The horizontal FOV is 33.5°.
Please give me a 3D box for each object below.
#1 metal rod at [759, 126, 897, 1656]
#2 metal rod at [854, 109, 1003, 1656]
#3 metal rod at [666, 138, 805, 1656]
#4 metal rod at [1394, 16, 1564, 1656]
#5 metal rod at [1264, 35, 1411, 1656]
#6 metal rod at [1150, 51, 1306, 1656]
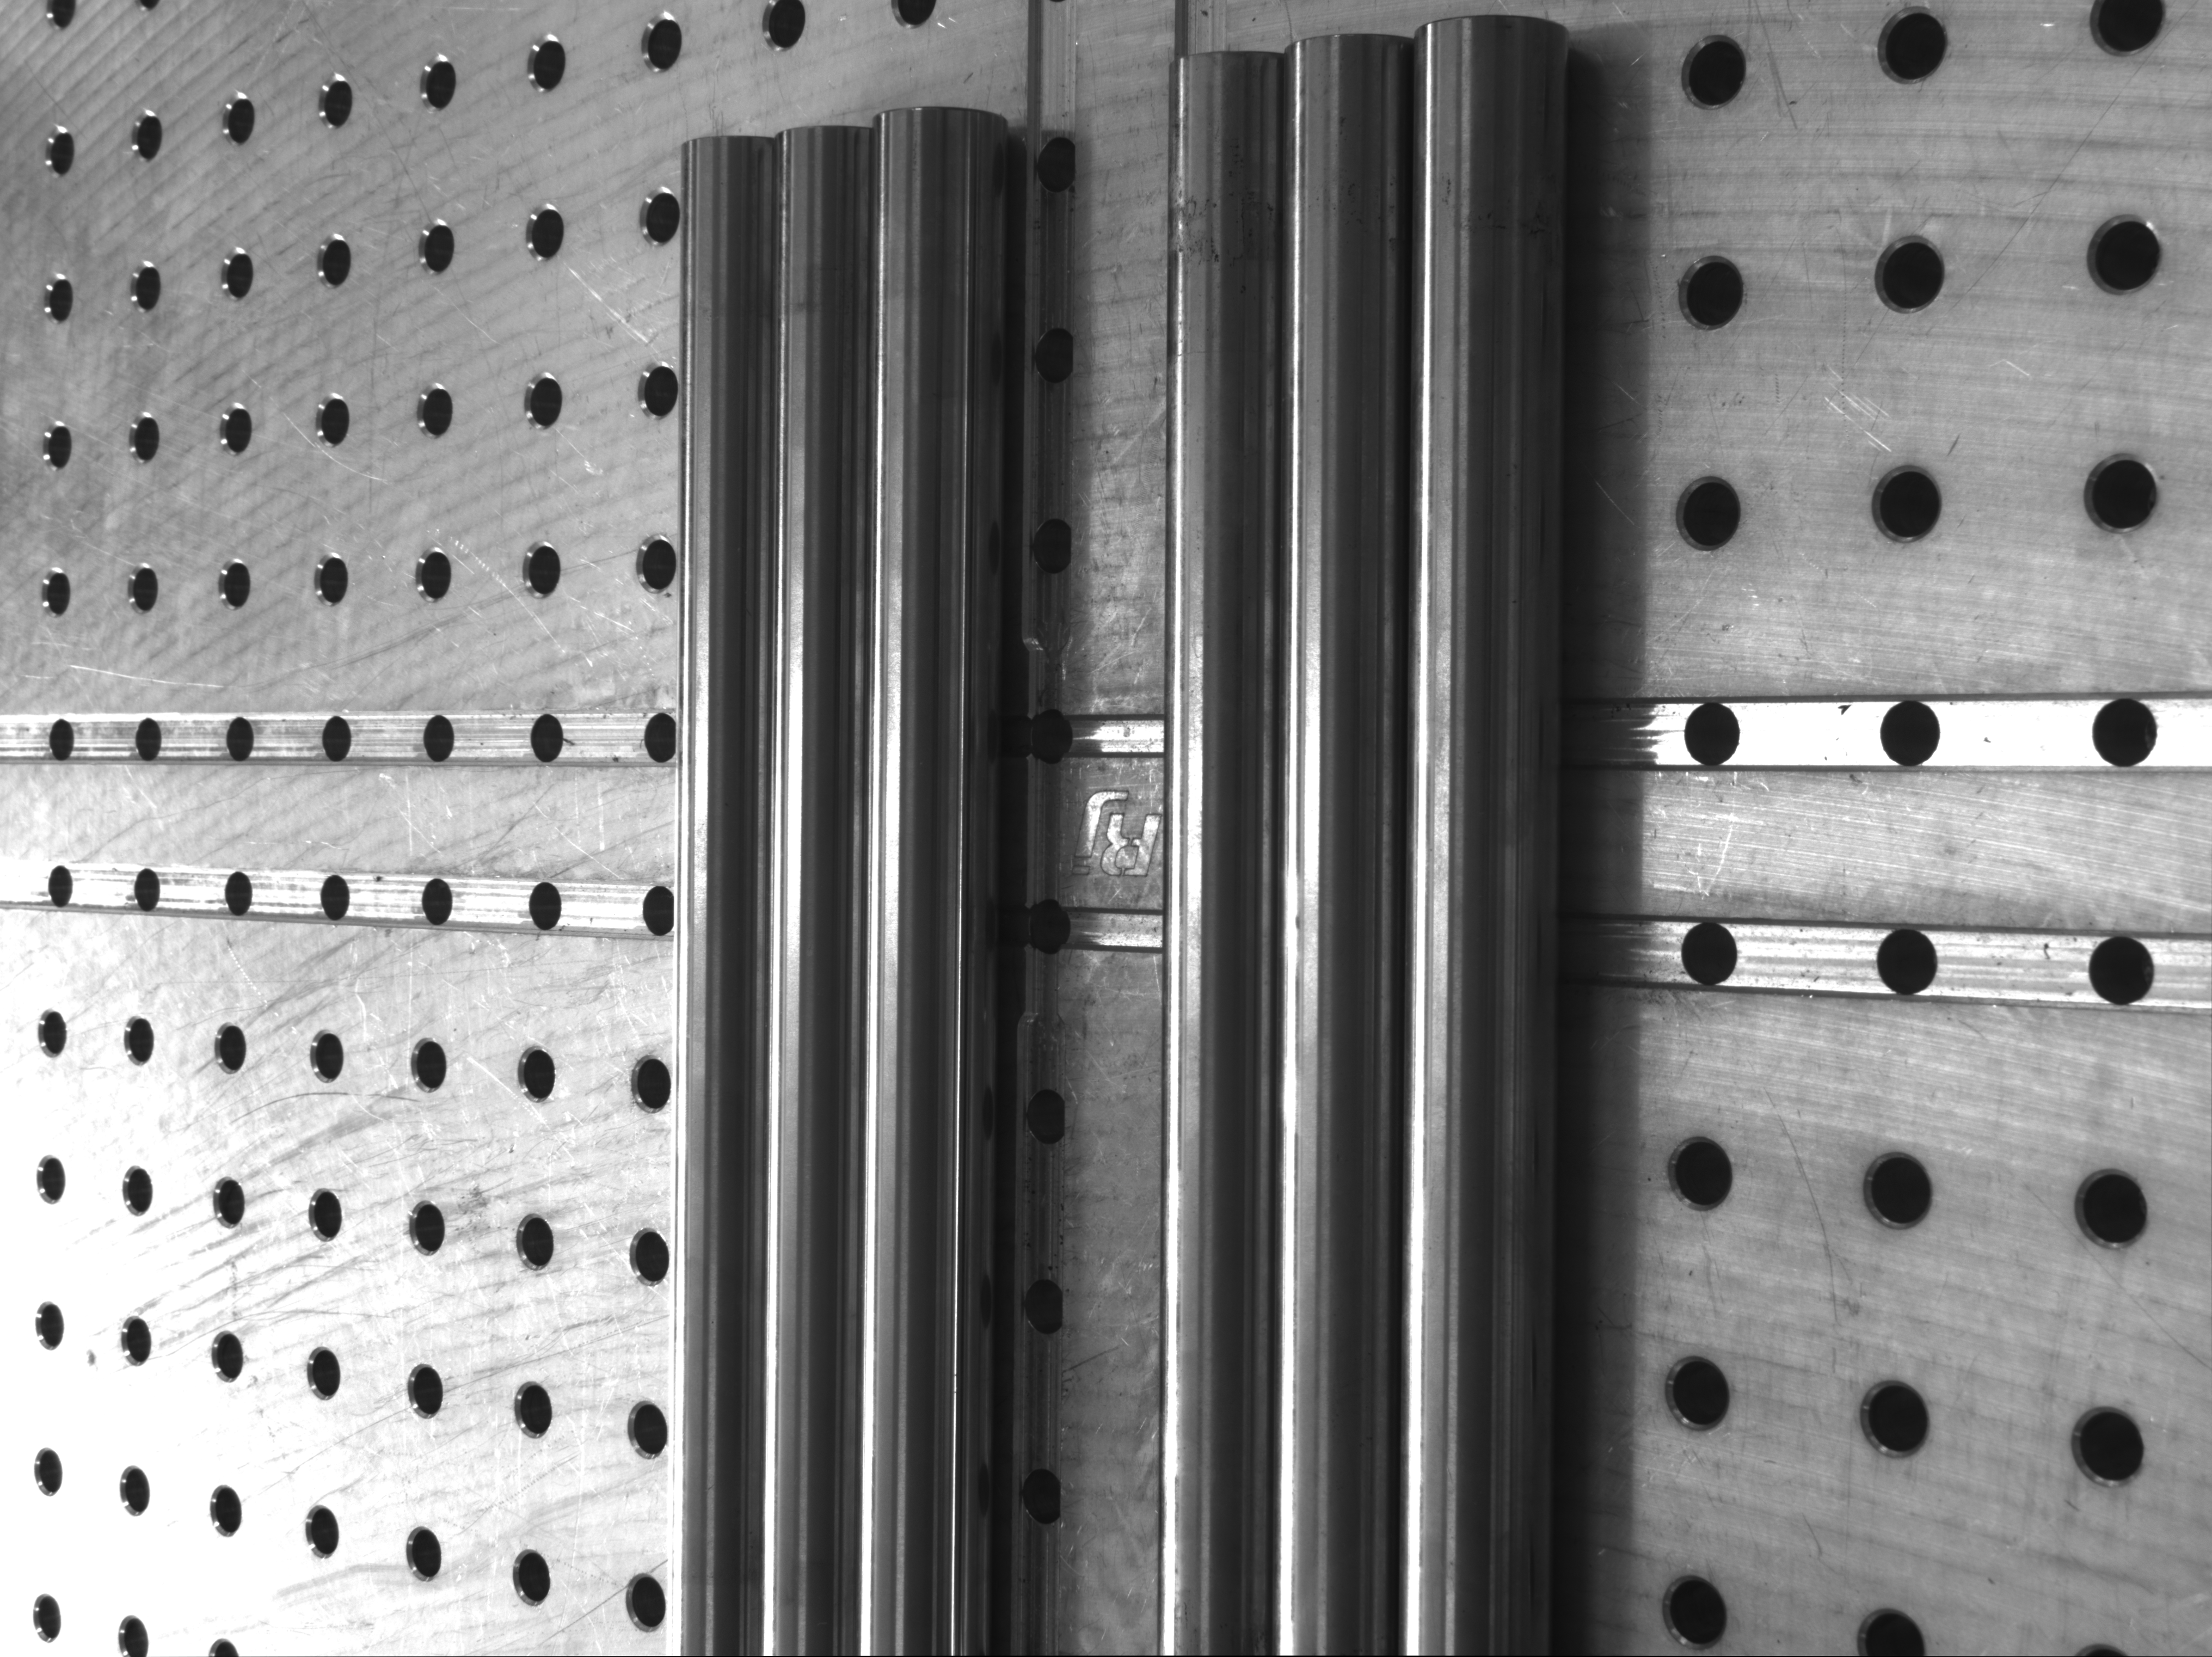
[{"bbox_3d":[-0.052,0.020,0.692,0.025,0.025,0.300,1,91,40],"label":"metal rod"},{"bbox_3d":[-0.033,0.020,0.676,0.025,0.025,0.300,1,91,40],"label":"metal rod"},{"bbox_3d":[-0.071,0.019,0.708,0.025,0.025,0.300,1,91,40],"label":"metal rod"},{"bbox_3d":[0.060,0.021,0.597,0.025,0.025,0.300,1,91,40],"label":"metal rod"},{"bbox_3d":[0.040,0.020,0.614,0.025,0.025,0.300,1,91,40],"label":"metal rod"},{"bbox_3d":[0.021,0.019,0.630,0.025,0.025,0.300,1,91,40],"label":"metal rod"}]
